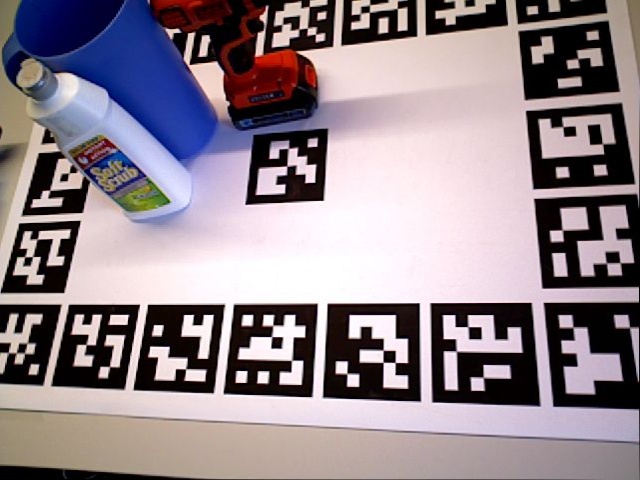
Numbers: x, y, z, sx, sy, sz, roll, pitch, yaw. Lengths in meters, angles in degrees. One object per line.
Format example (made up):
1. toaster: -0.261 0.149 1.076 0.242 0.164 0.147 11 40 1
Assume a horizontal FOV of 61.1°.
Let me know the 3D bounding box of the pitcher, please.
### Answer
1. pitcher: -0.225 -0.194 0.619 0.189 0.244 0.132 -27 67 3

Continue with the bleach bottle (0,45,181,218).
1. bleach bottle: -0.245 -0.106 0.571 0.103 0.252 0.067 -9 67 11

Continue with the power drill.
1. power drill: -0.059 -0.213 0.591 0.184 0.188 0.057 -5 71 7
